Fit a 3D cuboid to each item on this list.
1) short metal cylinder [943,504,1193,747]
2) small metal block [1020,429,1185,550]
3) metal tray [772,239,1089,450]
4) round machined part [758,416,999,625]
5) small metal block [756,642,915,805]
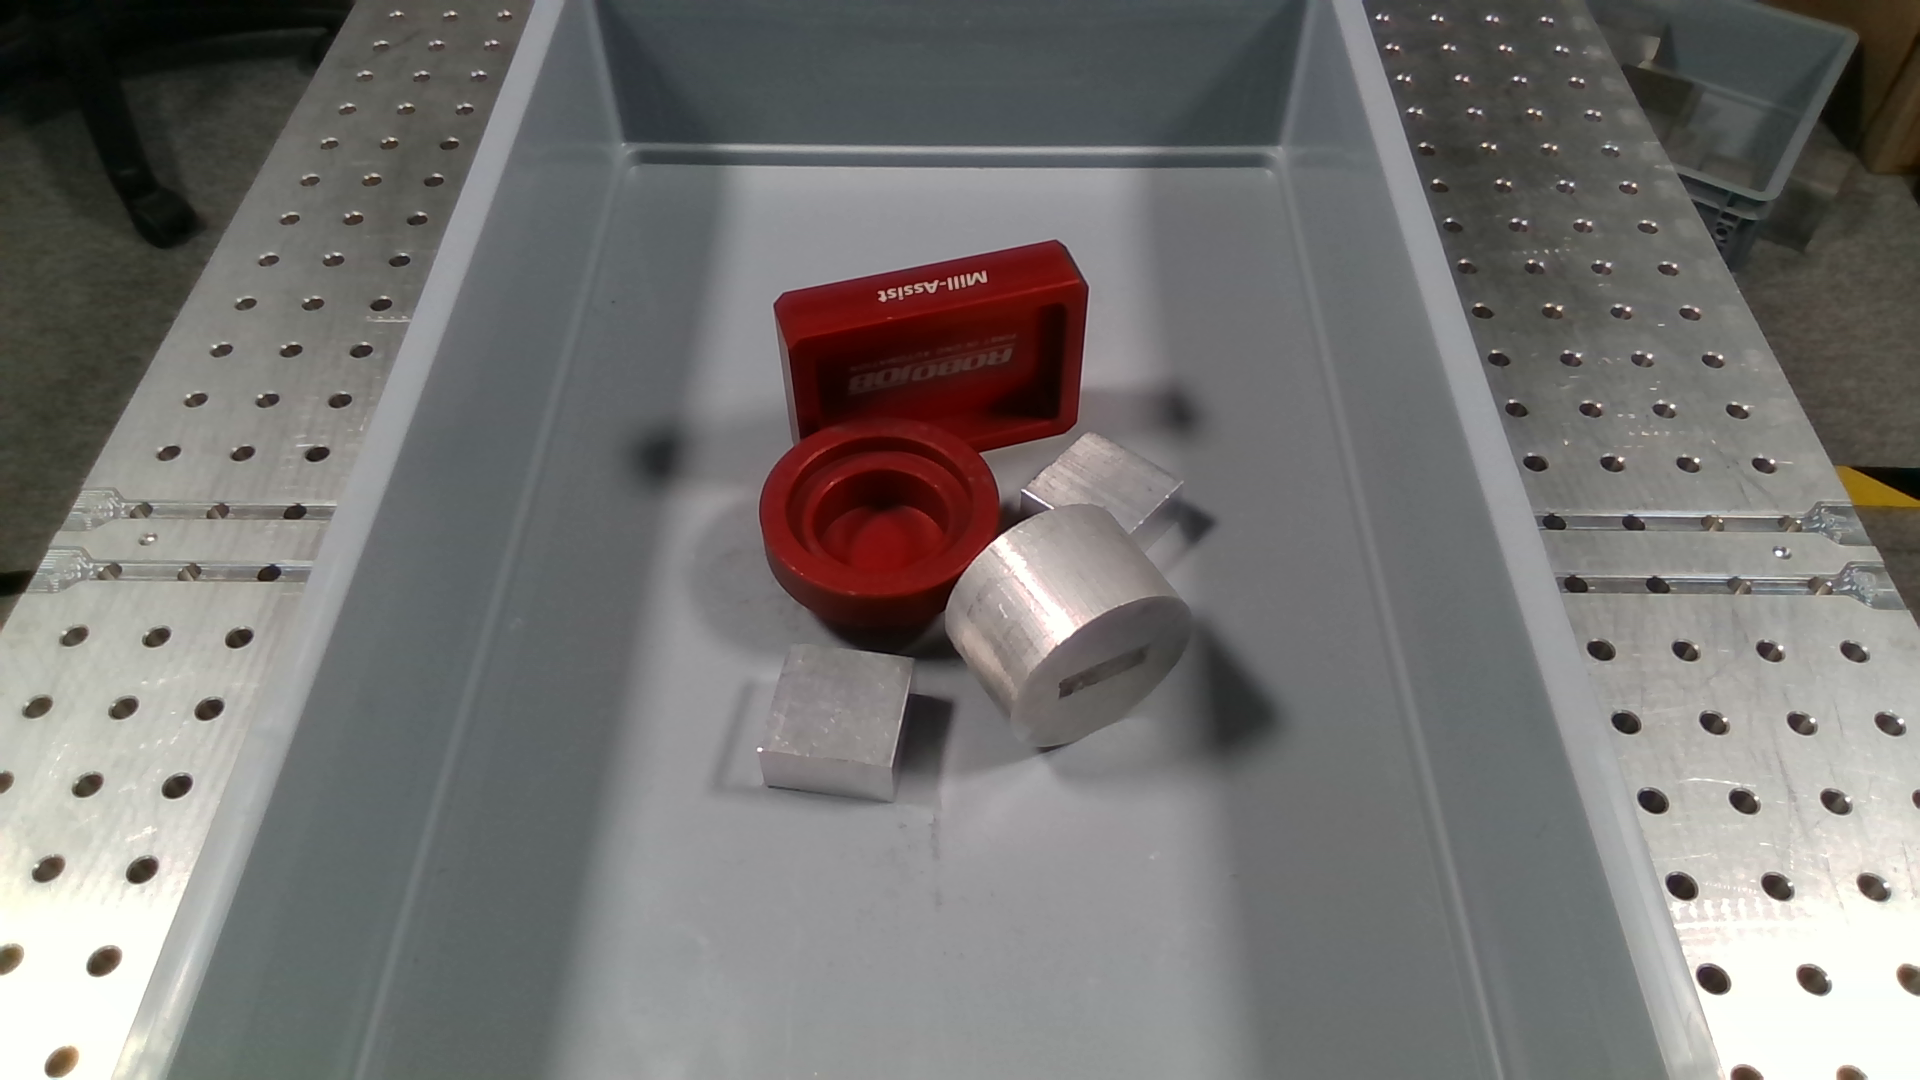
[{"bbox_3d":[0.041,0.033,0.522,0.080,0.080,0.050,-23,54,-18],"label":"short metal cylinder"},{"bbox_3d":[0.061,-0.015,0.598,0.050,0.025,0.050,33,56,25],"label":"small metal block"},{"bbox_3d":[-0.012,-0.077,0.607,0.130,0.090,0.030,-13,51,-11],"label":"metal tray"},{"bbox_3d":[-0.033,-0.003,0.575,0.098,0.042,0.098,0,50,0],"label":"round machined part"},{"bbox_3d":[-0.046,0.070,0.527,0.050,0.025,0.050,7,49,5],"label":"small metal block"}]
